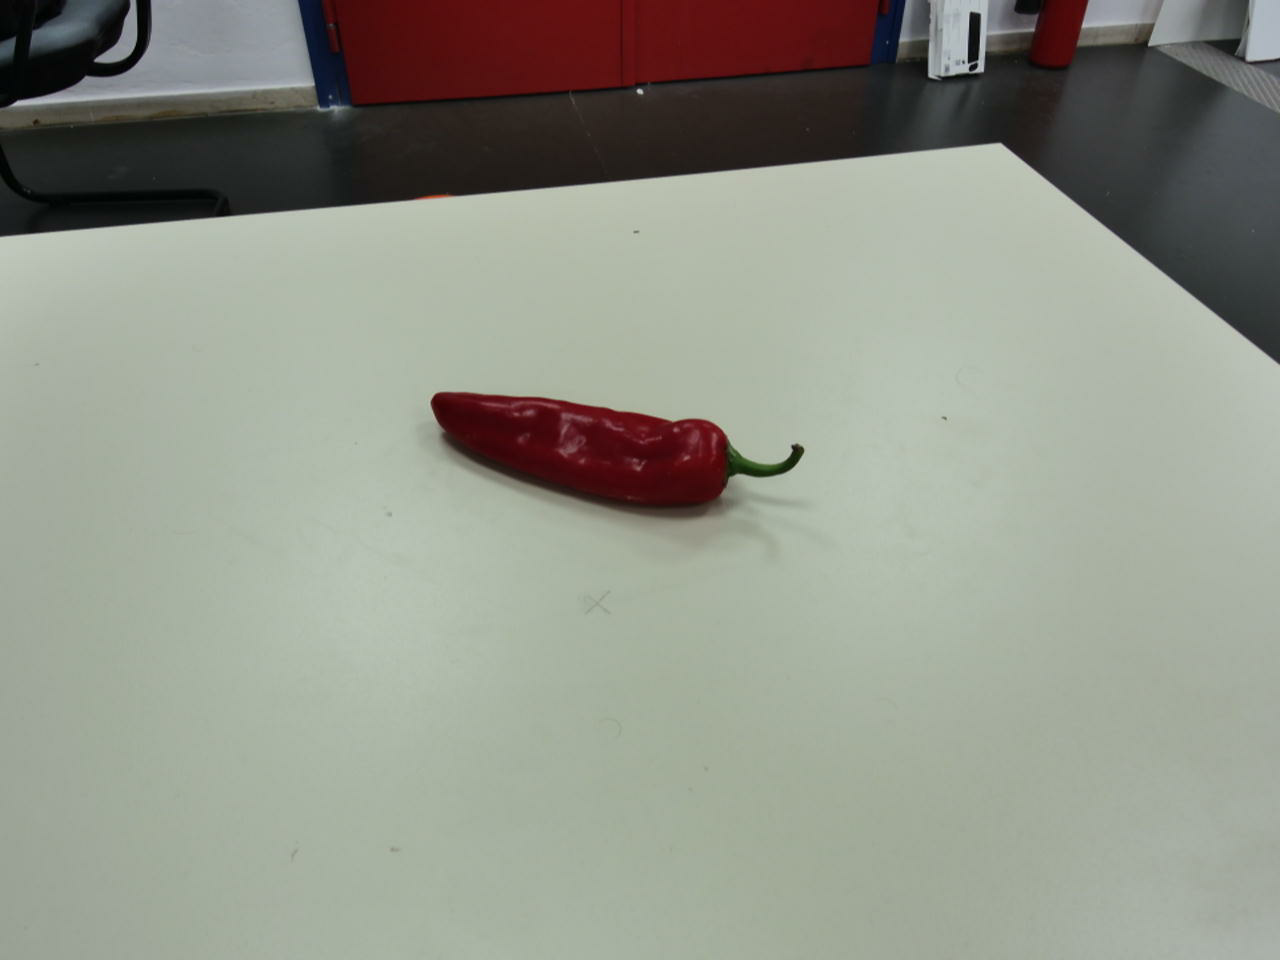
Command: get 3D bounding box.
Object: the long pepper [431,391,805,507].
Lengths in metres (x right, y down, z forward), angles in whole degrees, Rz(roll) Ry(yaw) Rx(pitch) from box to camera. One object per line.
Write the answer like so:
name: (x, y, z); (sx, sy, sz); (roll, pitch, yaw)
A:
long pepper: (-0.021, -0.019, 0.524); (0.211, 0.043, 0.050); (12, 41, 15)
